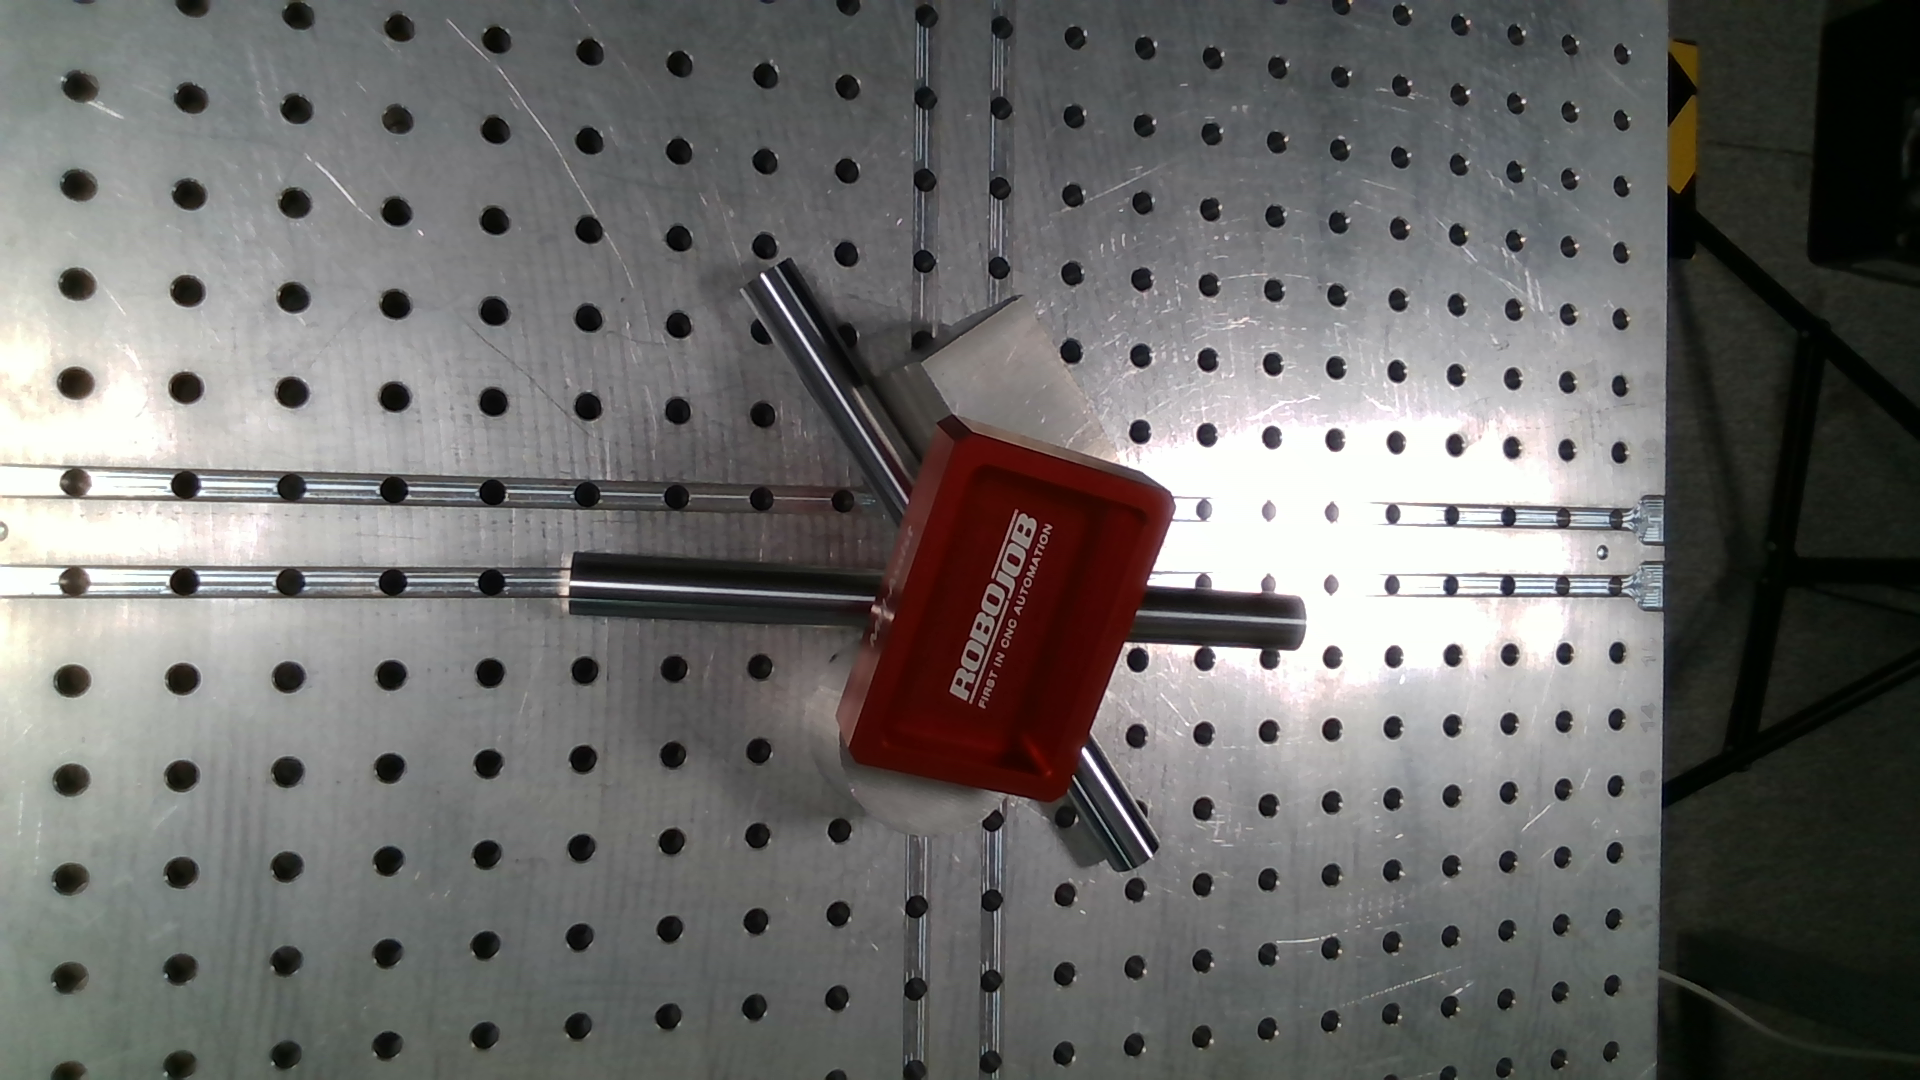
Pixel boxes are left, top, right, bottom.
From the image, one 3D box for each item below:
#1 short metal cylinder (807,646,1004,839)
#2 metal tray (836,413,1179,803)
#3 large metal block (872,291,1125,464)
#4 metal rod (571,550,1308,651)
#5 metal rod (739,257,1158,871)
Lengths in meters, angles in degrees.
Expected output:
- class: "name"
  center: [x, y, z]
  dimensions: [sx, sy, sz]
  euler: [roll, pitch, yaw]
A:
- class: "short metal cylinder"
  center: [-0.018, 0.078, 0.567]
  dimensions: [0.080, 0.050, 0.080]
  euler: [0, 90, -20]
- class: "metal tray"
  center: [0.016, 0.028, 0.517]
  dimensions: [0.090, 0.030, 0.130]
  euler: [15, 103, -20]
- class: "large metal block"
  center: [0.012, -0.048, 0.563]
  dimensions: [0.050, 0.080, 0.080]
  euler: [-36, 102, -17]
- class: "metal rod"
  center: [-0.003, 0.026, 0.563]
  dimensions: [0.300, 0.025, 0.025]
  euler: [4, 89, -11]
- class: "metal rod"
  center: [-0.001, 0.016, 0.589]
  dimensions: [0.025, 0.025, 0.300]
  euler: [-36, 102, -17]
